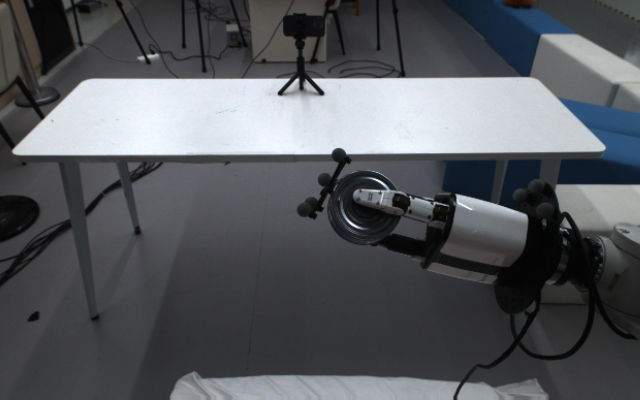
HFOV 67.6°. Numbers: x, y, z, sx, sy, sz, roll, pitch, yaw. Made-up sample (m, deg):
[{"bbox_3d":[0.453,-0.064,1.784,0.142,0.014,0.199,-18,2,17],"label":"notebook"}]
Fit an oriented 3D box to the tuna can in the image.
[{"bbox_3d":[0.055,0.007,0.570,0.085,0.034,0.085,1,75,-5],"label":"tuna can"}]
